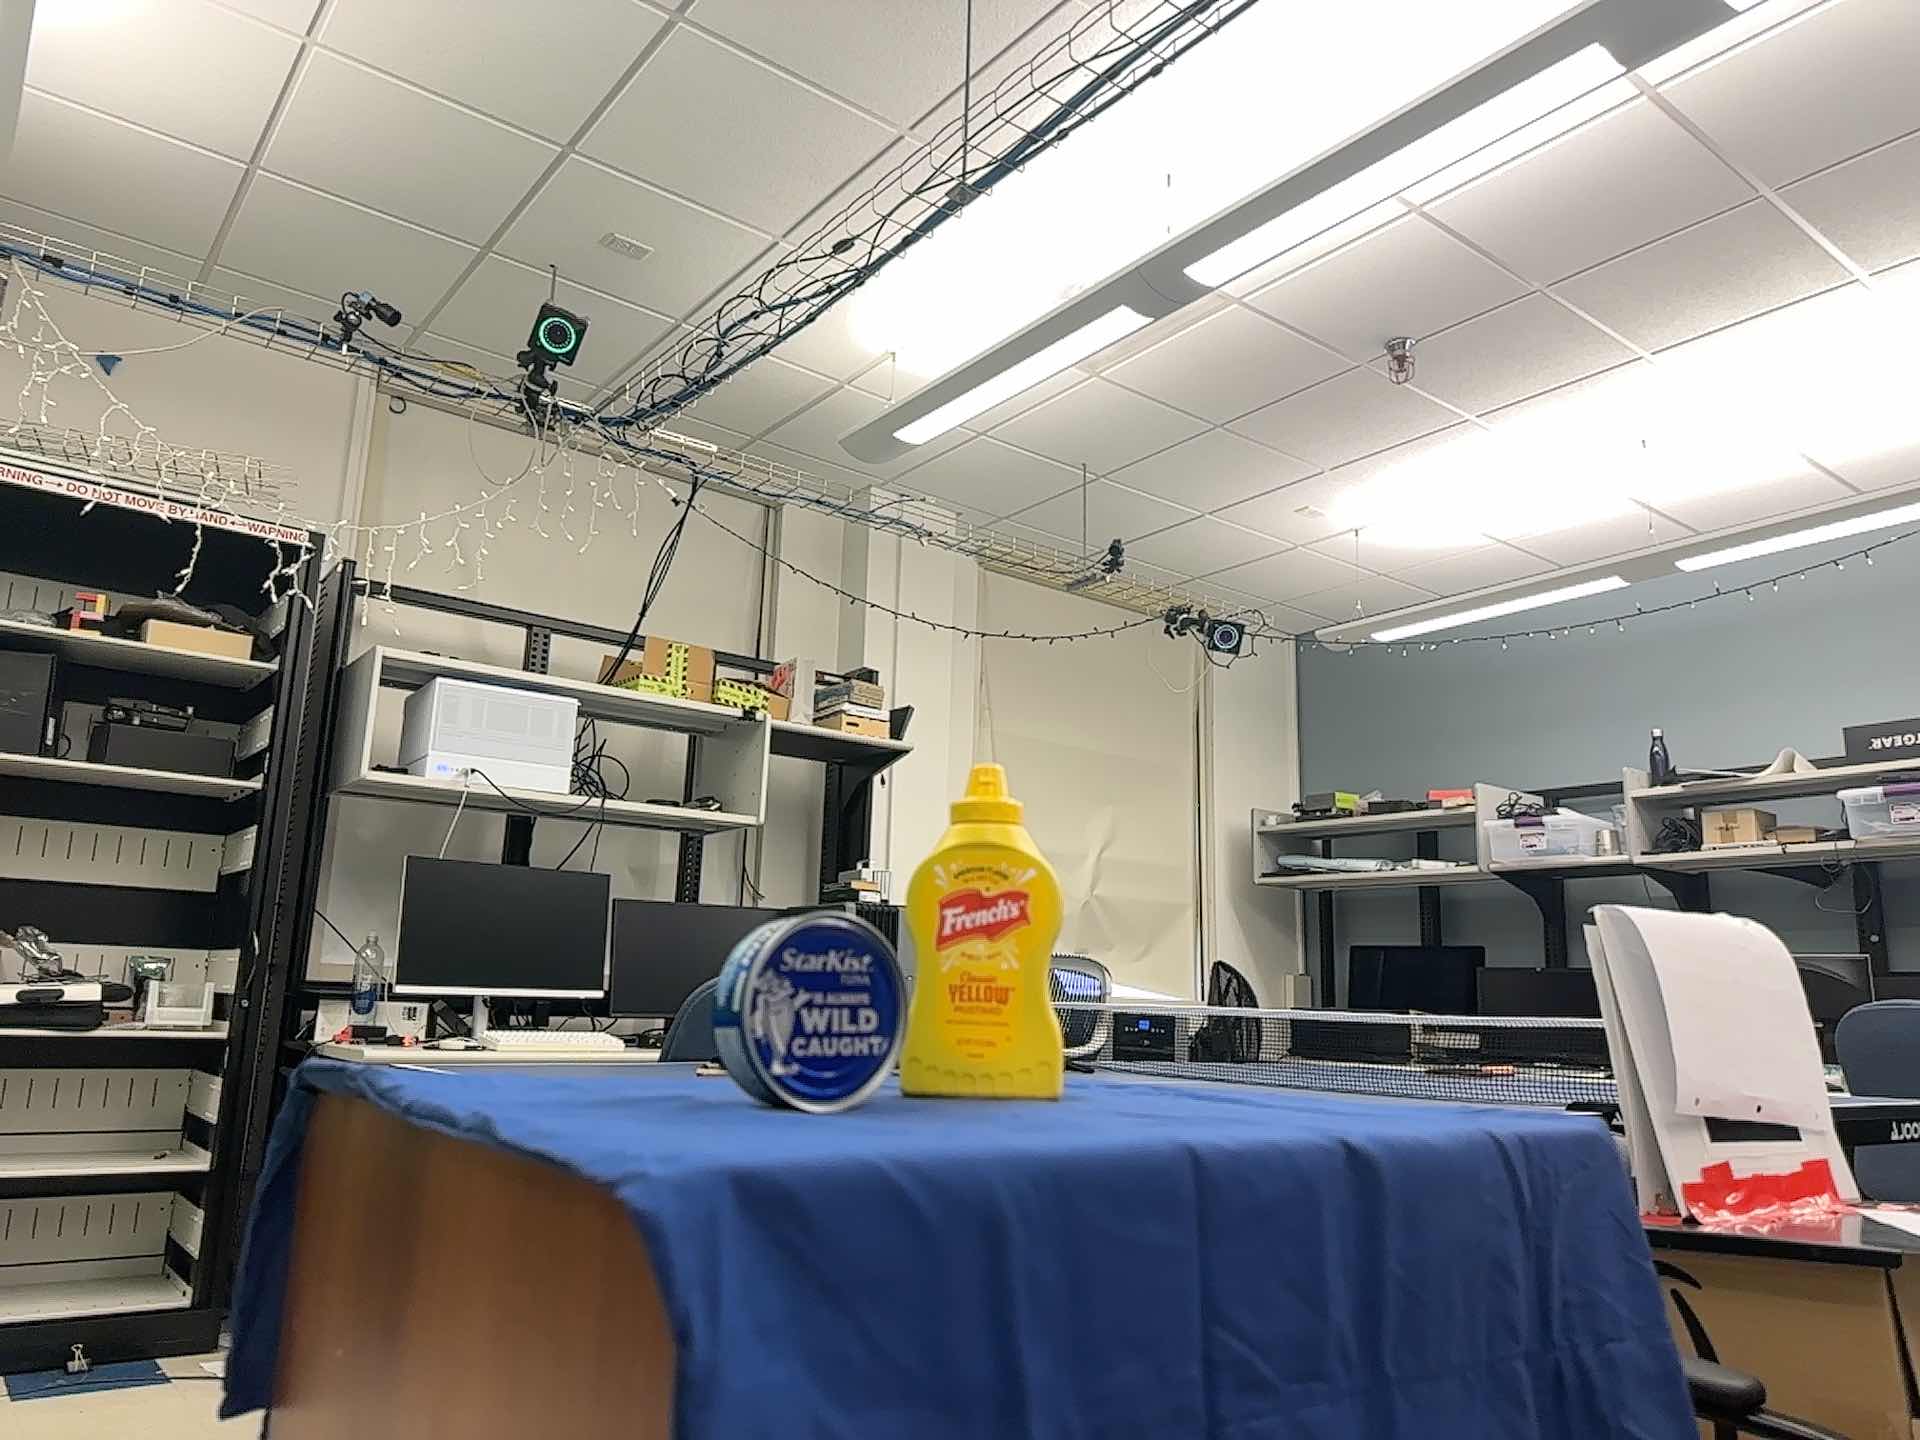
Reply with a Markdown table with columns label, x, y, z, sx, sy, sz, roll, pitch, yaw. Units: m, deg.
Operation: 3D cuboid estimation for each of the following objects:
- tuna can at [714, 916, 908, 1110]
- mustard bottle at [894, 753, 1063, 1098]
| label | x | y | z | sx | sy | sz | roll | pitch | yaw |
| --- | --- | --- | --- | --- | --- | --- | --- | --- | --- |
| tuna can | -0.068 | 0.132 | 0.610 | 0.083 | 0.083 | 0.034 | 9 | -14 | -34 |
| mustard bottle | 0.010 | 0.109 | 0.732 | 0.092 | 0.184 | 0.054 | -1 | -12 | 12 |
